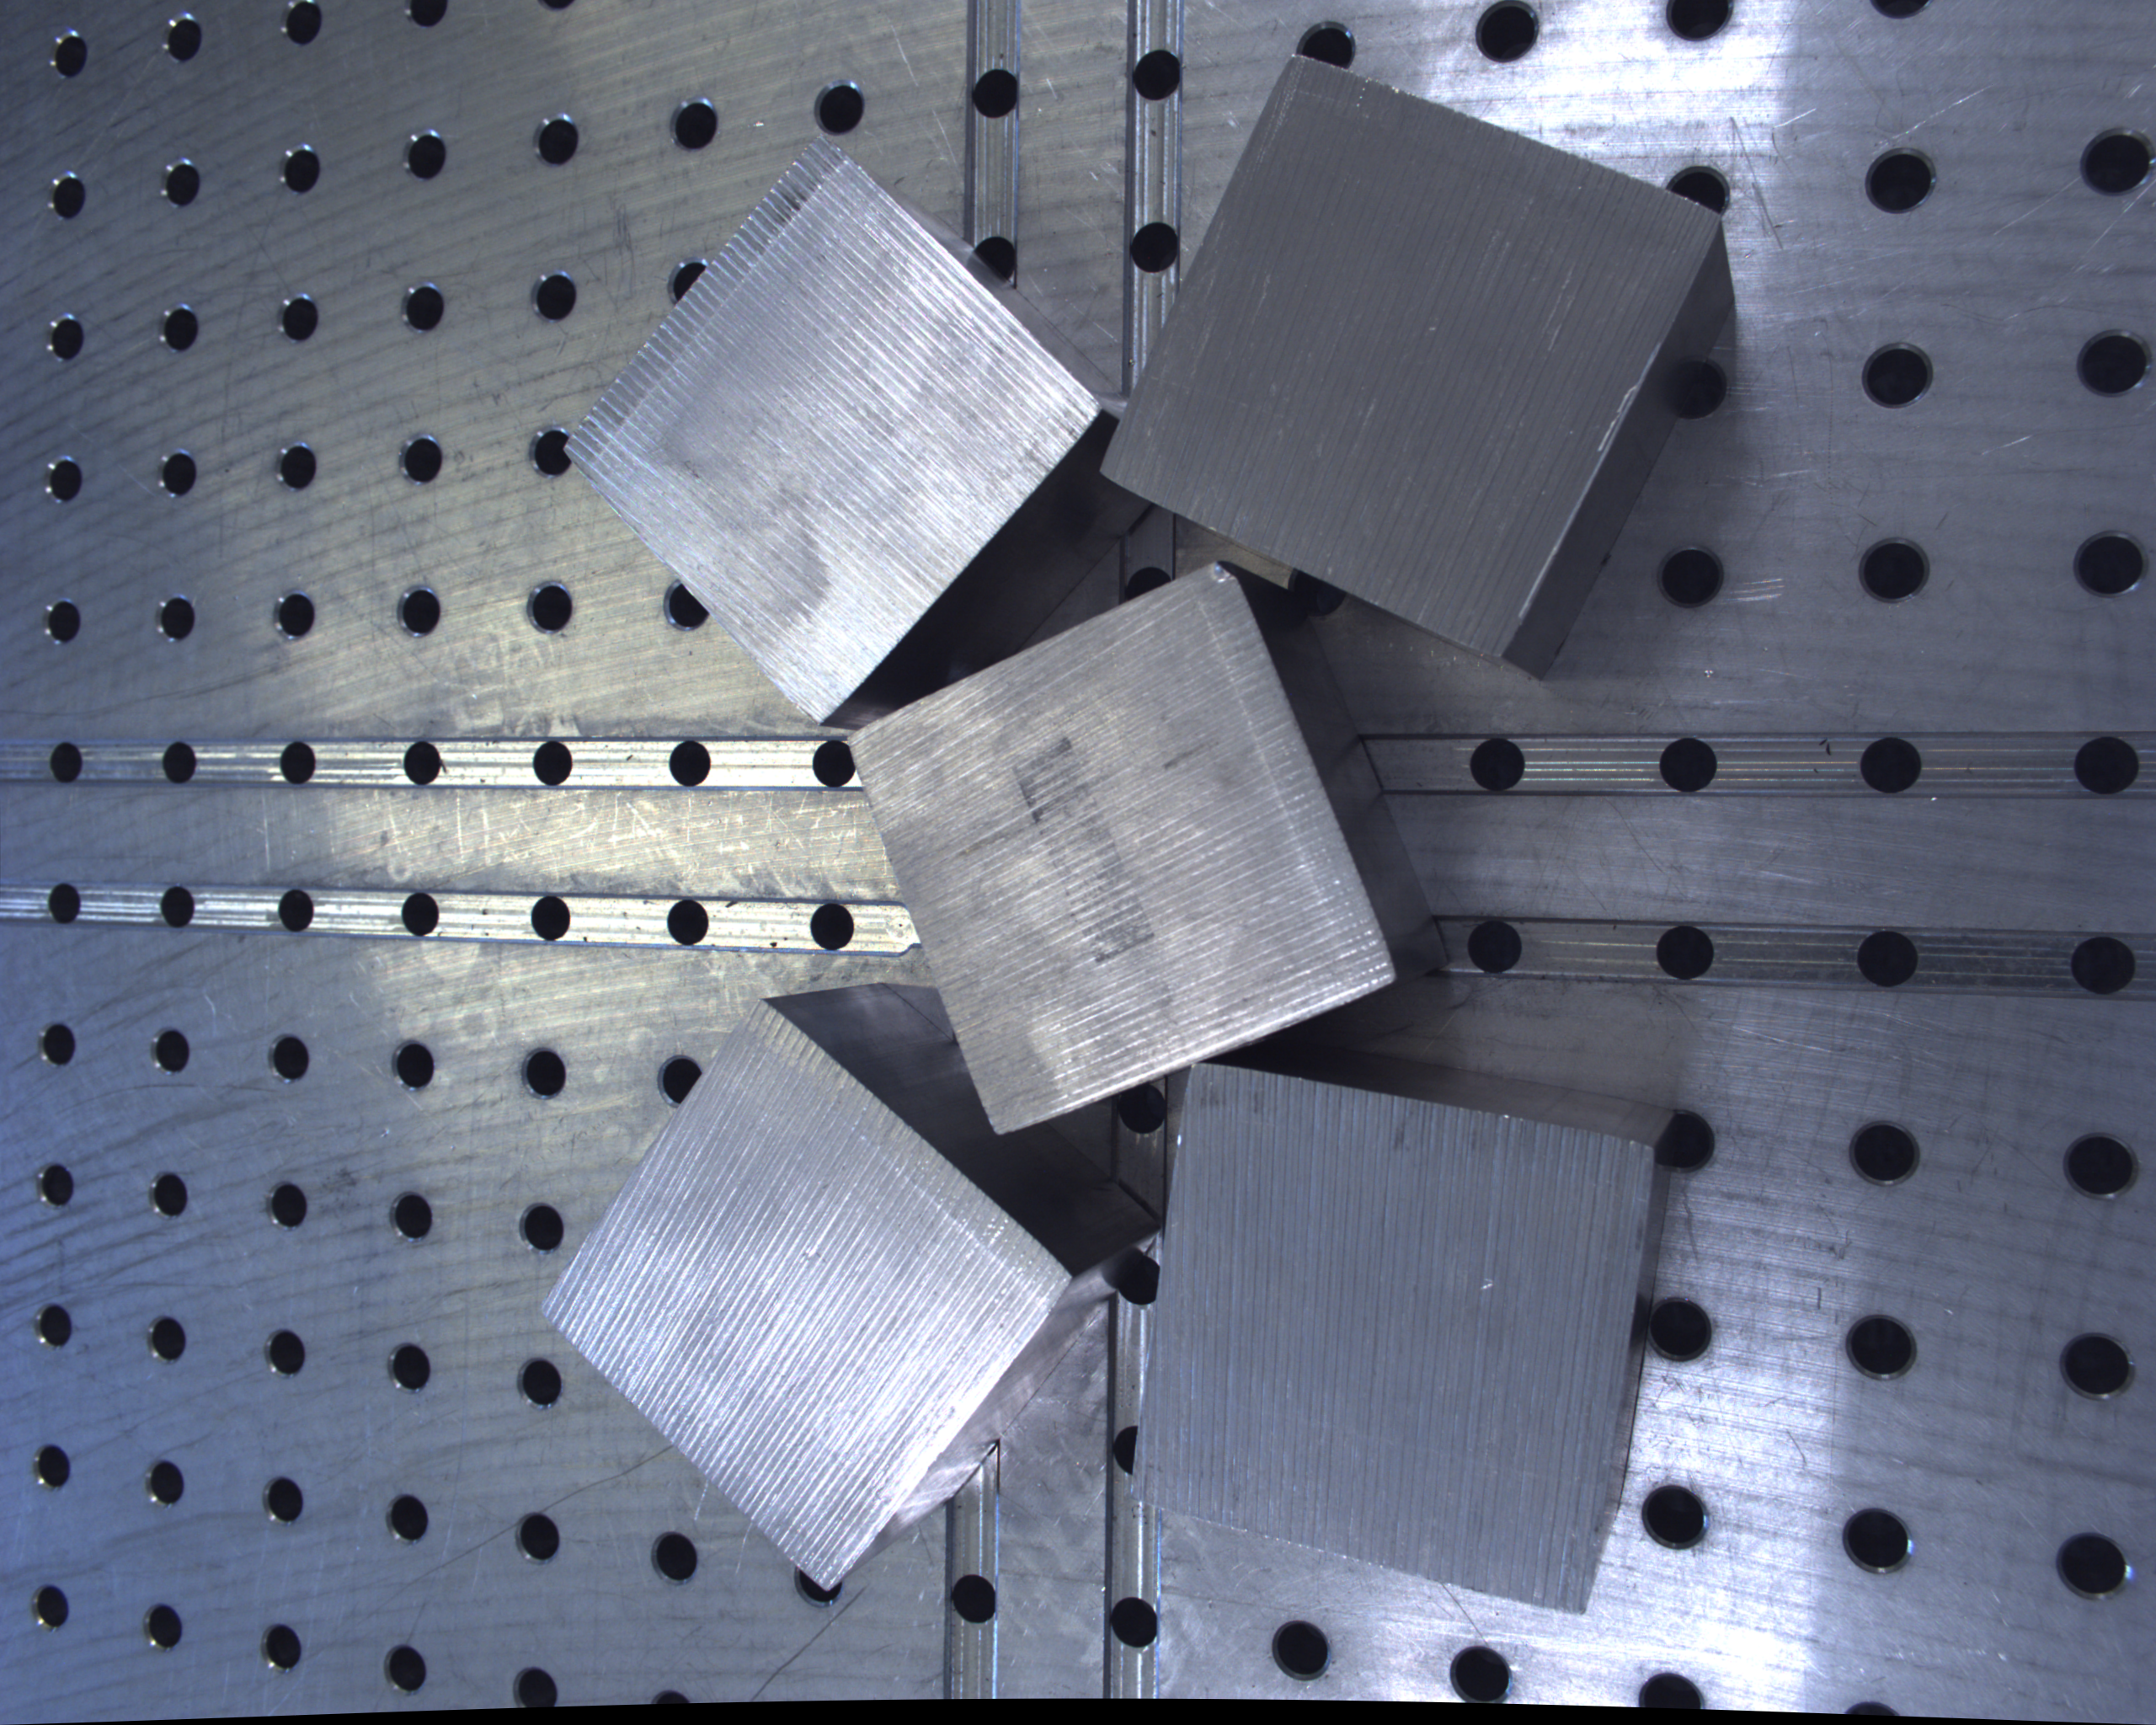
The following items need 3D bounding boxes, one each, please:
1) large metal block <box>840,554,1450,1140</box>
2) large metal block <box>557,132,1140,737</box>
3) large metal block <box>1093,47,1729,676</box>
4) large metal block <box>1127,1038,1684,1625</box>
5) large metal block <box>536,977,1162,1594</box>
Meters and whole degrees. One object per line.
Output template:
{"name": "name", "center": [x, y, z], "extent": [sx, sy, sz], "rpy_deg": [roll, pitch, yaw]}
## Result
{"name": "large metal block", "center": [0.014, -0.002, 0.394], "extent": [0.080, 0.050, 0.080], "rpy_deg": [-24, 82, 18]}
{"name": "large metal block", "center": [-0.040, -0.080, 0.414], "extent": [0.080, 0.050, 0.080], "rpy_deg": [-46, 75, 15]}
{"name": "large metal block", "center": [0.061, -0.087, 0.377], "extent": [0.080, 0.050, 0.080], "rpy_deg": [27, 99, 15]}
{"name": "large metal block", "center": [0.060, 0.080, 0.378], "extent": [0.080, 0.050, 0.080], "rpy_deg": [10, 93, 19]}
{"name": "large metal block", "center": [-0.045, 0.080, 0.414], "extent": [0.080, 0.050, 0.080], "rpy_deg": [40, 102, 16]}
